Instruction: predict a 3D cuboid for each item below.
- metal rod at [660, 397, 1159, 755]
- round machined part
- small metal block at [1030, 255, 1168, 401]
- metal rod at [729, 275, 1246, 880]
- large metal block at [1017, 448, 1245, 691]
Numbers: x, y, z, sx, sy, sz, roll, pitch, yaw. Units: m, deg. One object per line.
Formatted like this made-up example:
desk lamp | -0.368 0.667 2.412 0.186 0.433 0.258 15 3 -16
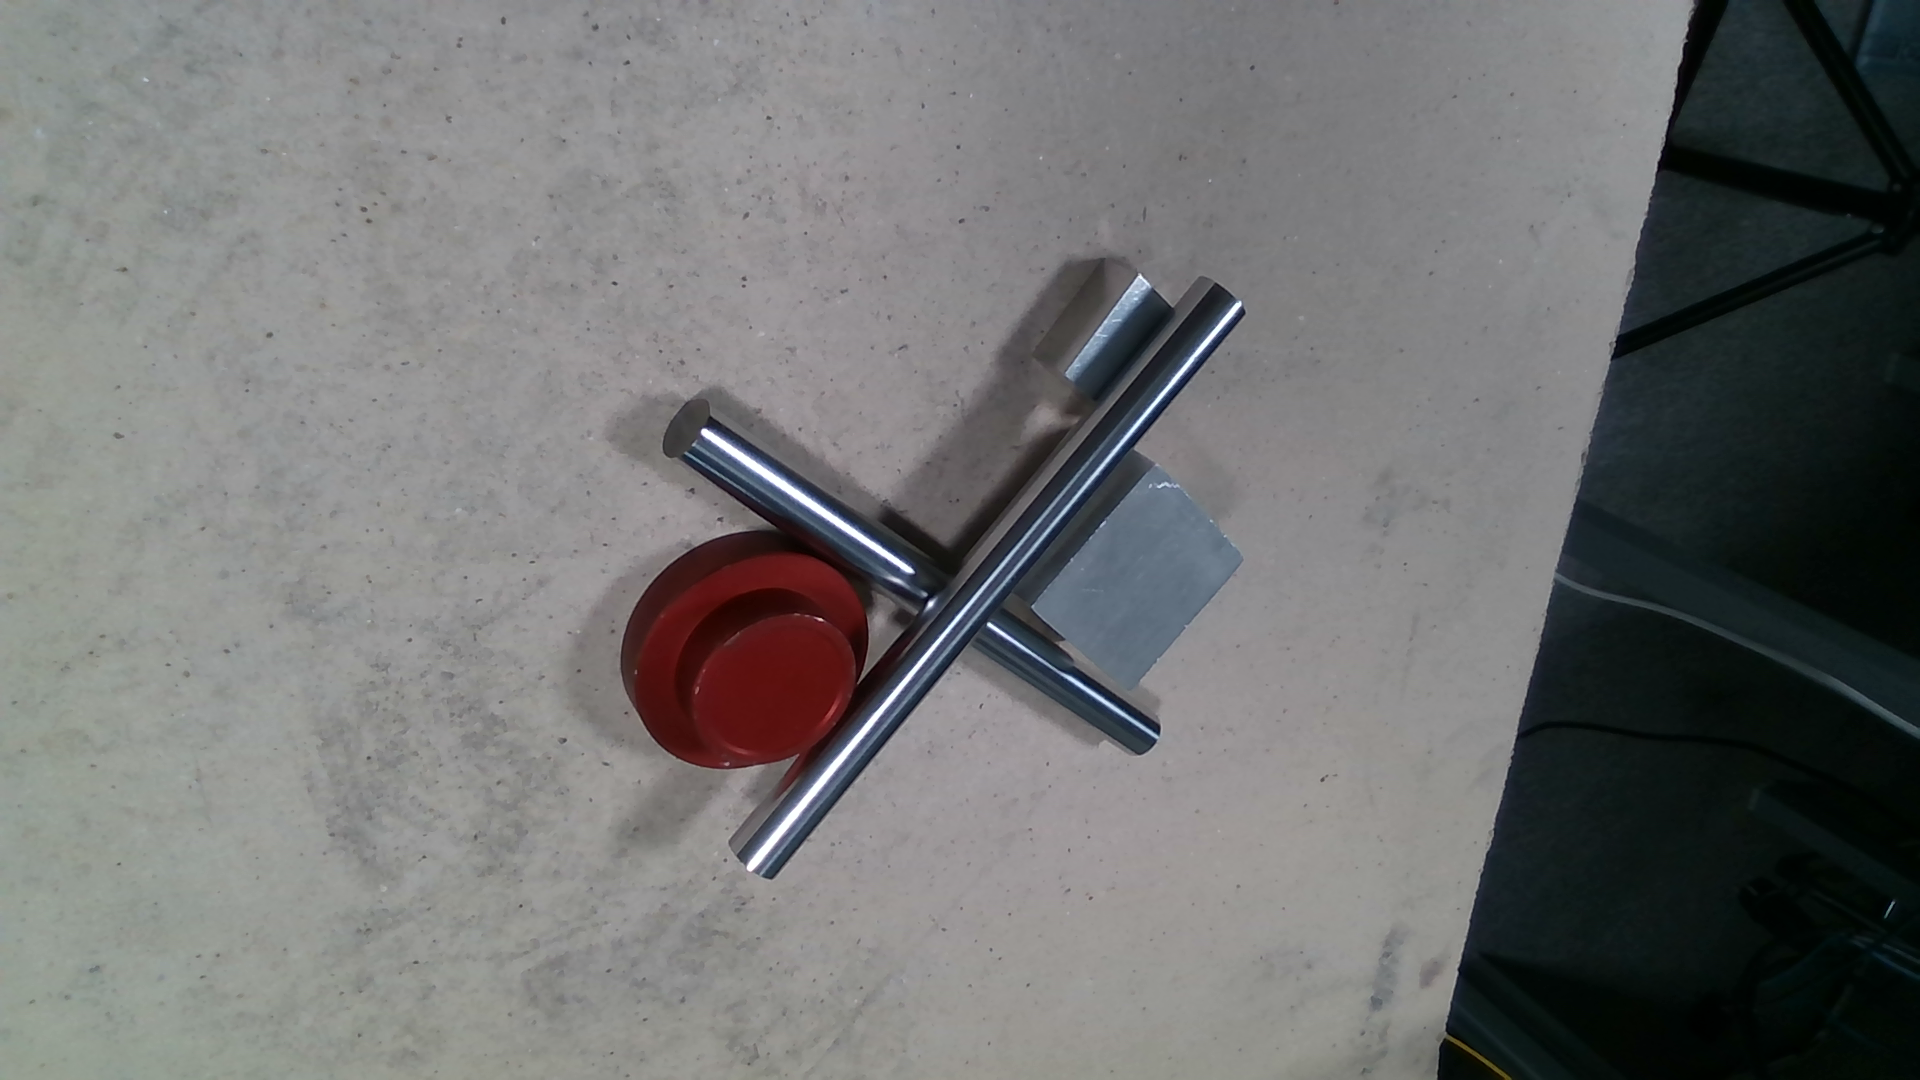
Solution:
metal rod | -0.006 0.027 0.594 0.301 0.025 0.025 36 93 -39
round machined part | -0.081 0.050 0.547 0.098 0.042 0.098 -14 122 -25
small metal block | 0.066 -0.082 0.578 0.050 0.025 0.050 34 95 -39
metal rod | 0.010 0.016 0.563 0.300 0.025 0.025 -50 129 1
large metal block | 0.066 0.007 0.611 0.080 0.050 0.080 -49 129 0
